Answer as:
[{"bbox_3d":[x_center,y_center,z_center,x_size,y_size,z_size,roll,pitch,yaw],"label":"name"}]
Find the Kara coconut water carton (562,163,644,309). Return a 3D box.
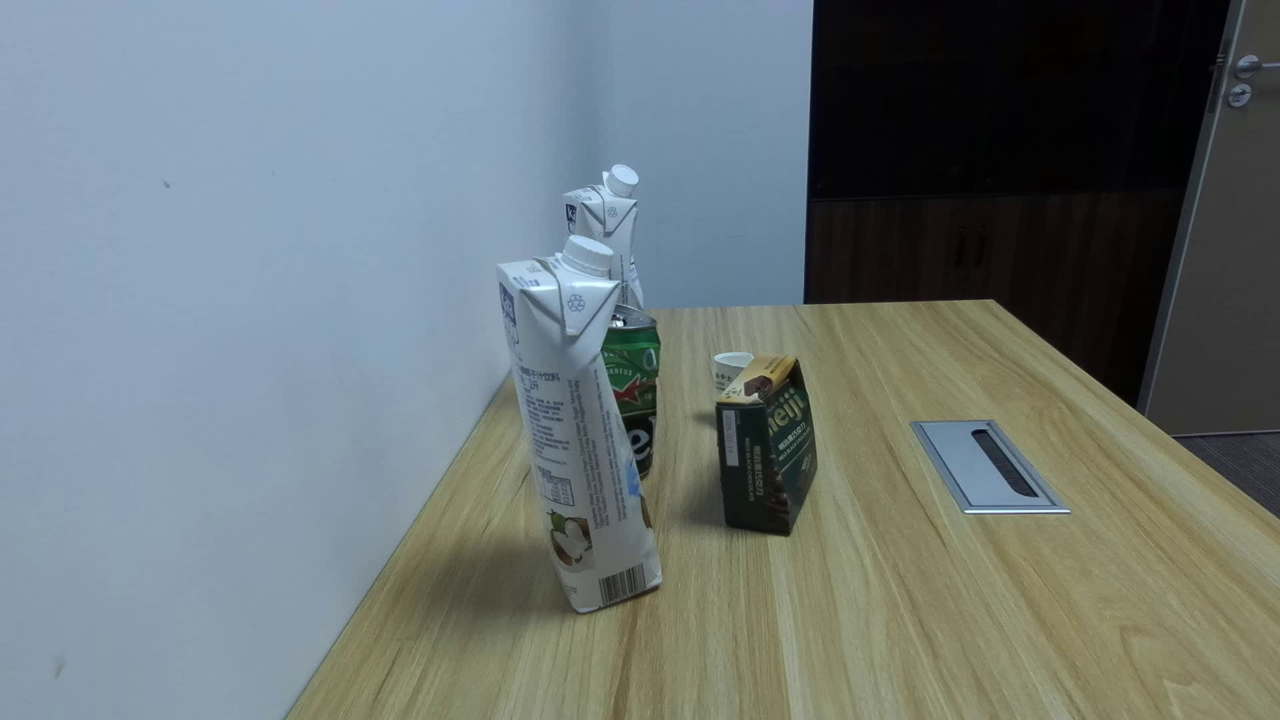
[{"bbox_3d":[-0.034,-0.066,0.723,0.078,0.255,0.083,-1,20,0],"label":"Kara coconut water carton"}]

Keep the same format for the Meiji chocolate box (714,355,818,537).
[{"bbox_3d":[0.104,0.065,0.576,0.058,0.111,0.113,-1,18,20],"label":"Meiji chocolate box"}]

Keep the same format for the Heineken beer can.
[{"bbox_3d":[-0.023,0.034,0.612,0.079,0.159,0.067,3,23,3],"label":"Heineken beer can"}]

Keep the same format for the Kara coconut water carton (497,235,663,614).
[{"bbox_3d":[-0.038,0.043,0.466,0.071,0.244,0.099,-14,26,-18],"label":"Kara coconut water carton"}]
